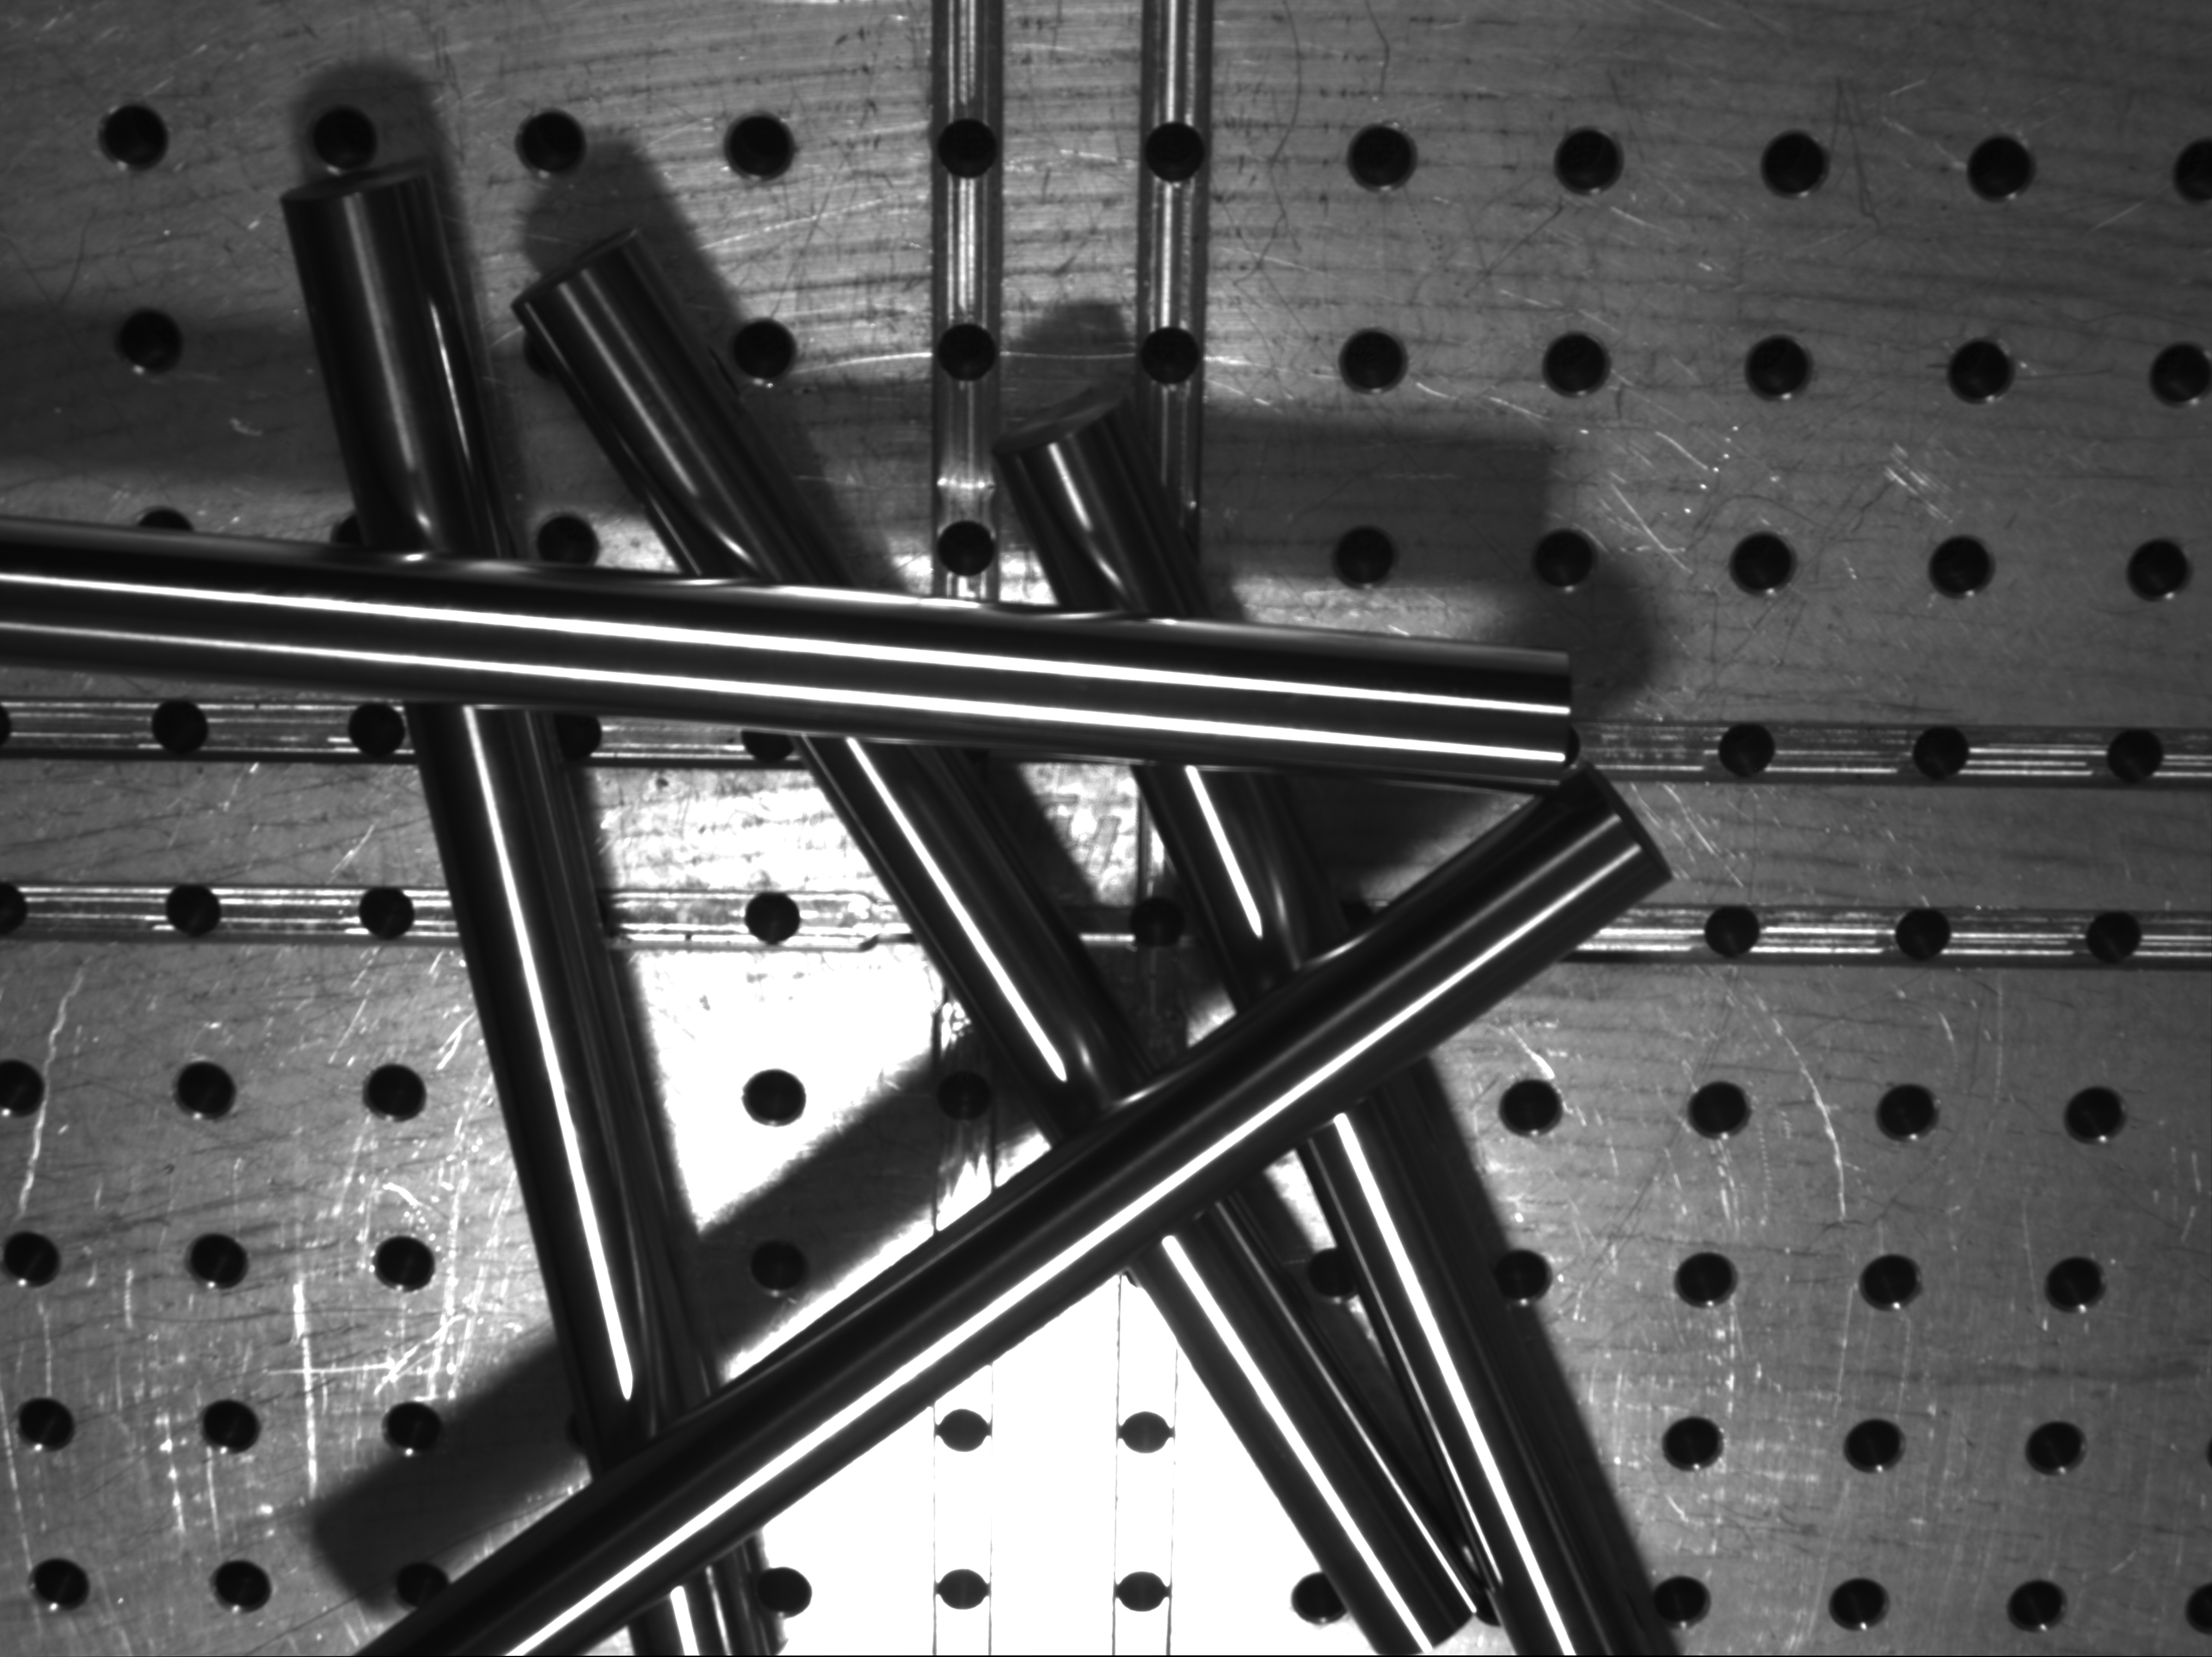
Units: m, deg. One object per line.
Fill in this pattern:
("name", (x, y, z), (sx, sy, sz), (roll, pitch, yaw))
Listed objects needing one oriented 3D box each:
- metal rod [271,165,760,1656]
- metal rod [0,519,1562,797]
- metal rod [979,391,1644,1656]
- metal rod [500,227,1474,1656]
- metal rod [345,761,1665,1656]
("metal rod", (-0.101, 0.032, 0.655), (0.025, 0.025, 0.300), (-9, 110, 3))
("metal rod", (-0.075, -0.030, 0.607), (0.300, 0.025, 0.025), (5, 110, -2))
("metal rod", (0.047, 0.062, 0.668), (0.025, 0.025, 0.300), (-21, 109, 7))
("metal rod", (-0.016, 0.028, 0.655), (0.025, 0.025, 0.300), (-29, 108, 9))
("metal rod", (-0.030, 0.086, 0.650), (0.300, 0.025, 0.025), (-37, 106, 12))
